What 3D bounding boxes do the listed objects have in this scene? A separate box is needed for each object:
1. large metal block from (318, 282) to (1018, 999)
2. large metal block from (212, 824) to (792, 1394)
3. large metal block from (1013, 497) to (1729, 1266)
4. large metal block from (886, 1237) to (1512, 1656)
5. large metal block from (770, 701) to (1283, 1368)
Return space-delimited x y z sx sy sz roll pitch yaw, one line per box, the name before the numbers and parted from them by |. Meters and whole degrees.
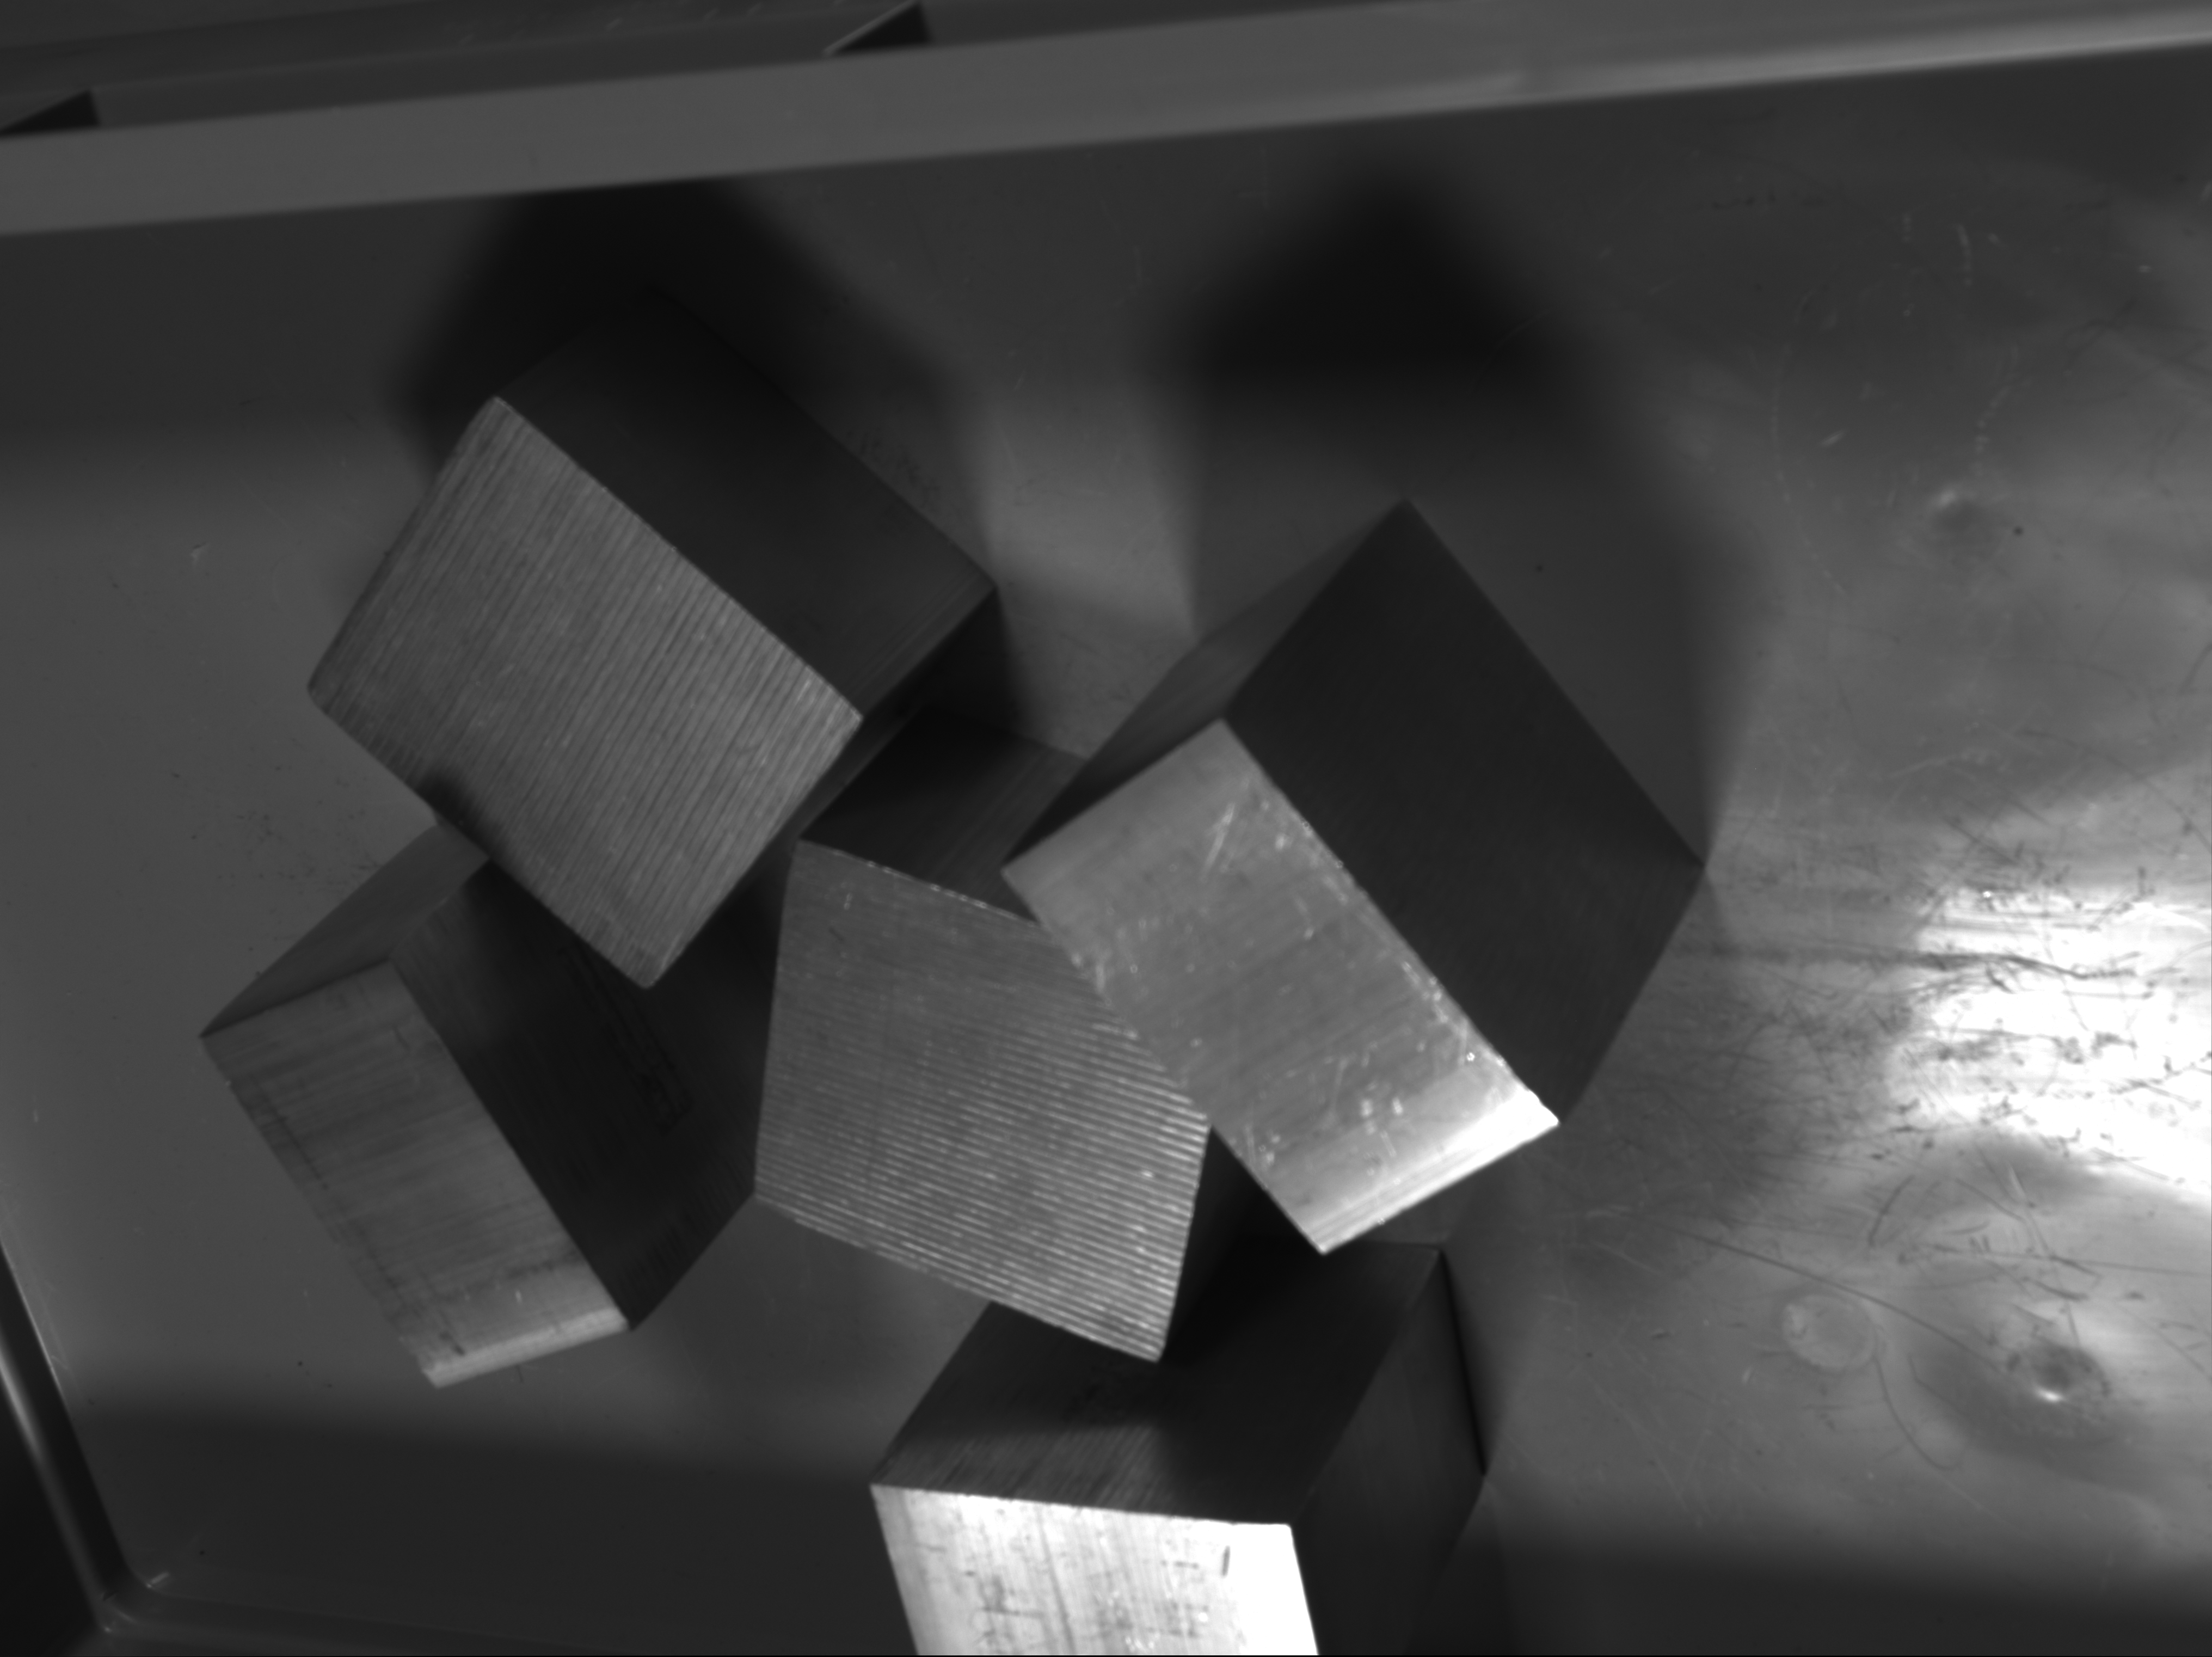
large metal block | -0.076 -0.032 0.632 0.080 0.050 0.080 41 128 -1
large metal block | -0.102 0.043 0.672 0.050 0.080 0.080 -20 108 34
large metal block | 0.044 0.007 0.577 0.050 0.080 0.080 -35 99 37
large metal block | 0.019 0.116 0.656 0.080 0.080 0.050 1 118 26
large metal block | -0.008 0.035 0.639 0.080 0.050 0.080 20 125 15
